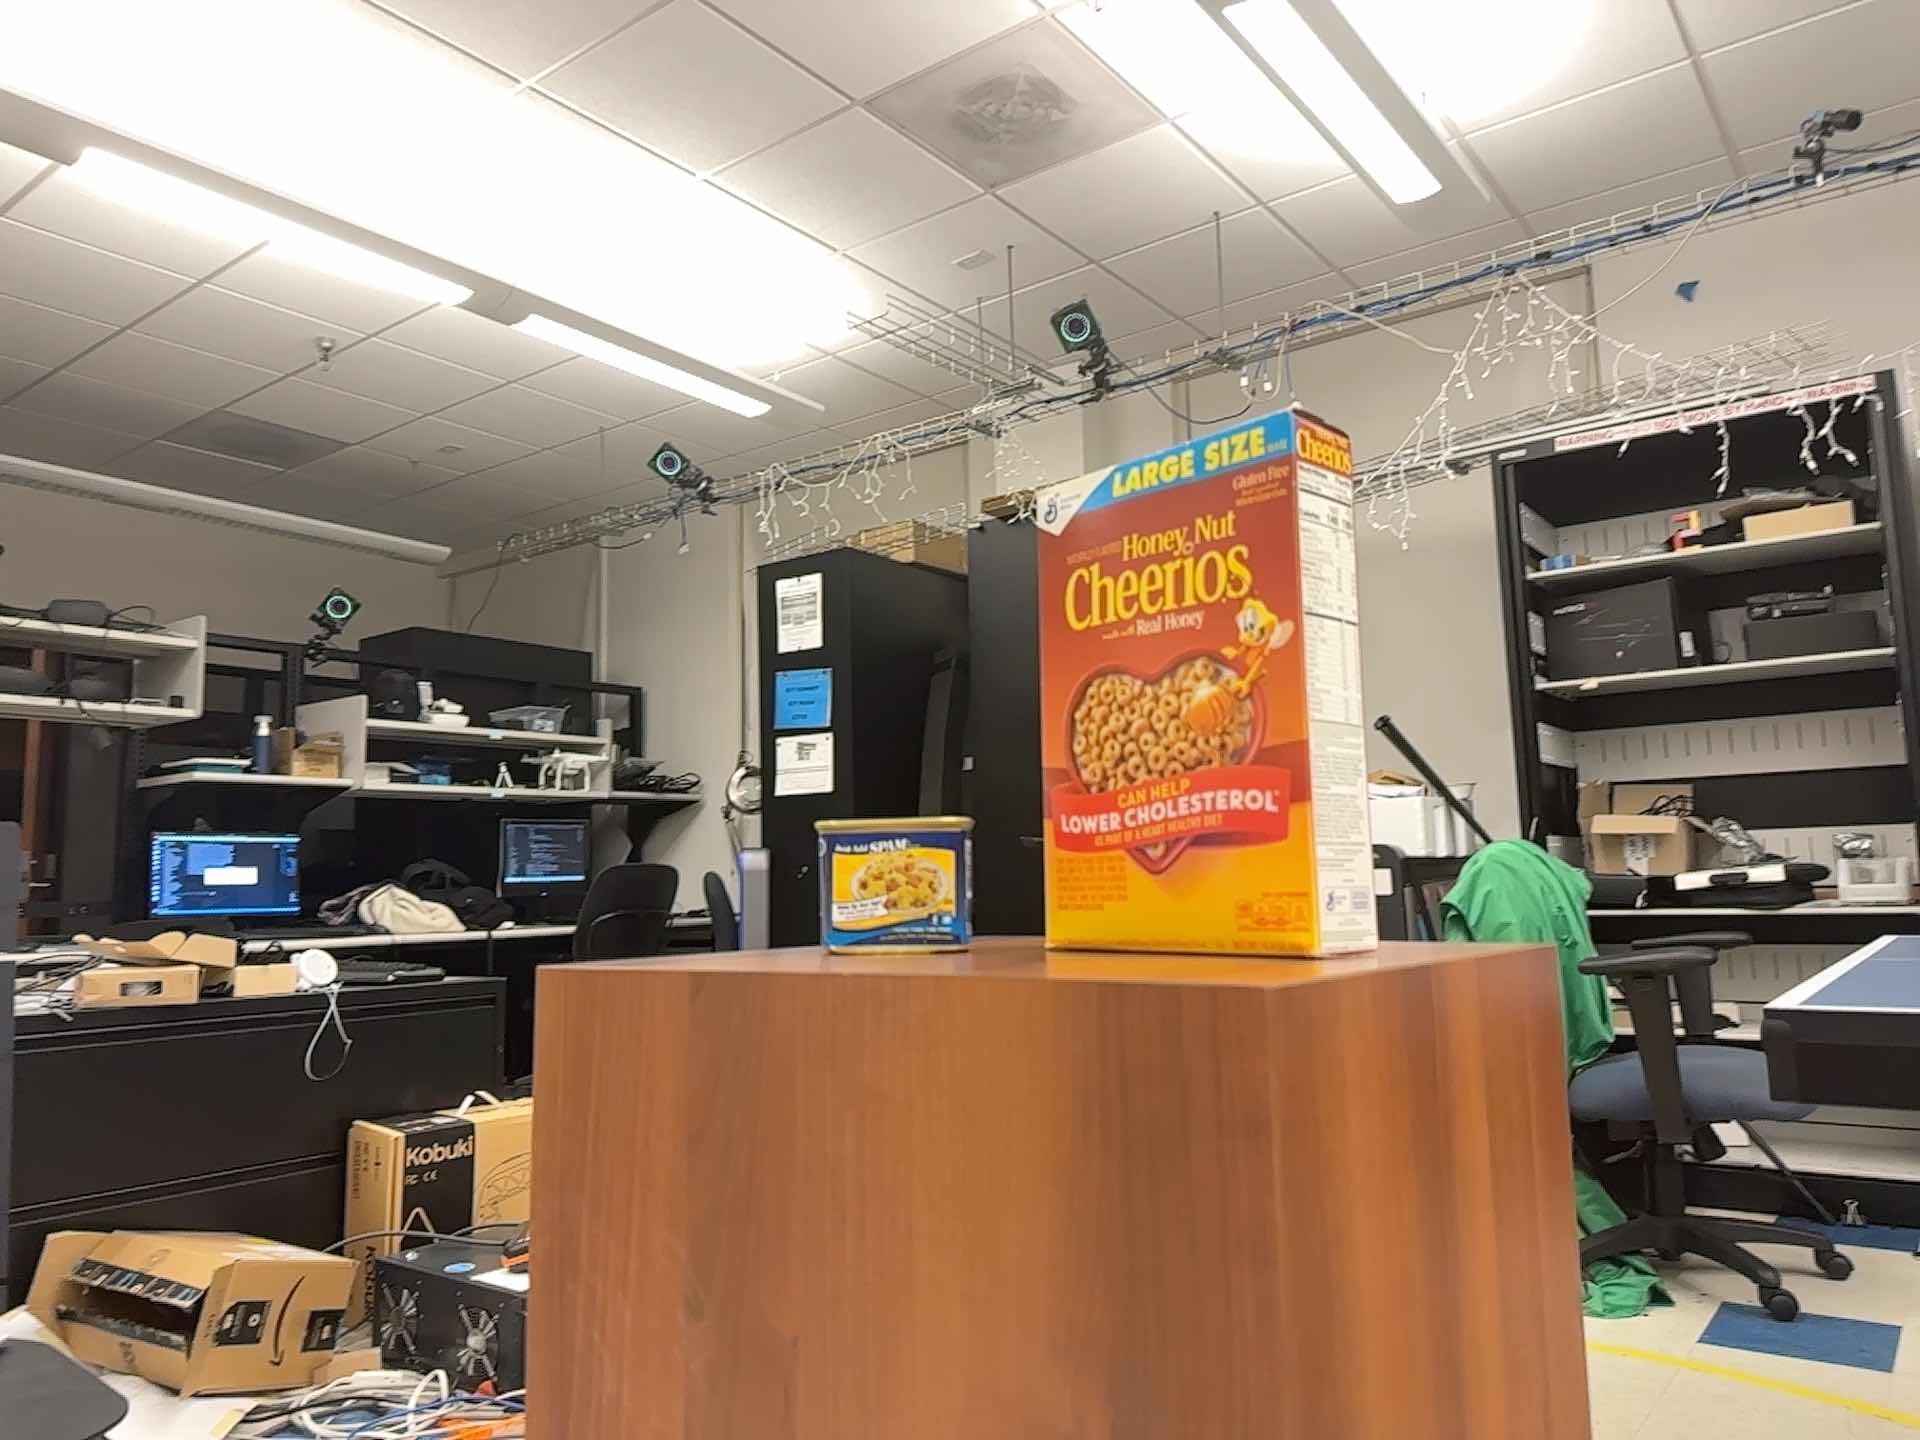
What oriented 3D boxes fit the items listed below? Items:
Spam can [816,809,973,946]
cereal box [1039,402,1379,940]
[{"bbox_3d":[-0.042,0.103,0.874,0.100,0.083,0.056,-1,-10,-1],"label":"Spam can"},{"bbox_3d":[0.145,-0.019,0.836,0.065,0.297,0.195,9,-13,-44],"label":"cereal box"}]
